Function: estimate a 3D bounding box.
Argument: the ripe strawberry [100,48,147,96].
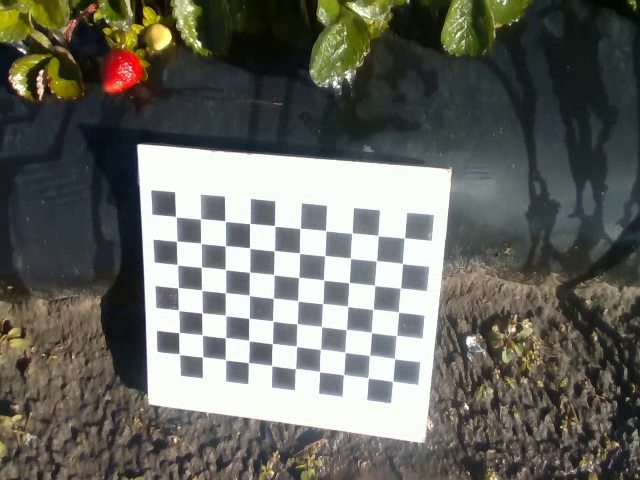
[{"bbox_3d":[-0.144,-0.114,0.766,0.039,0.040,0.039,0,45,26],"label":"ripe strawberry"}]
